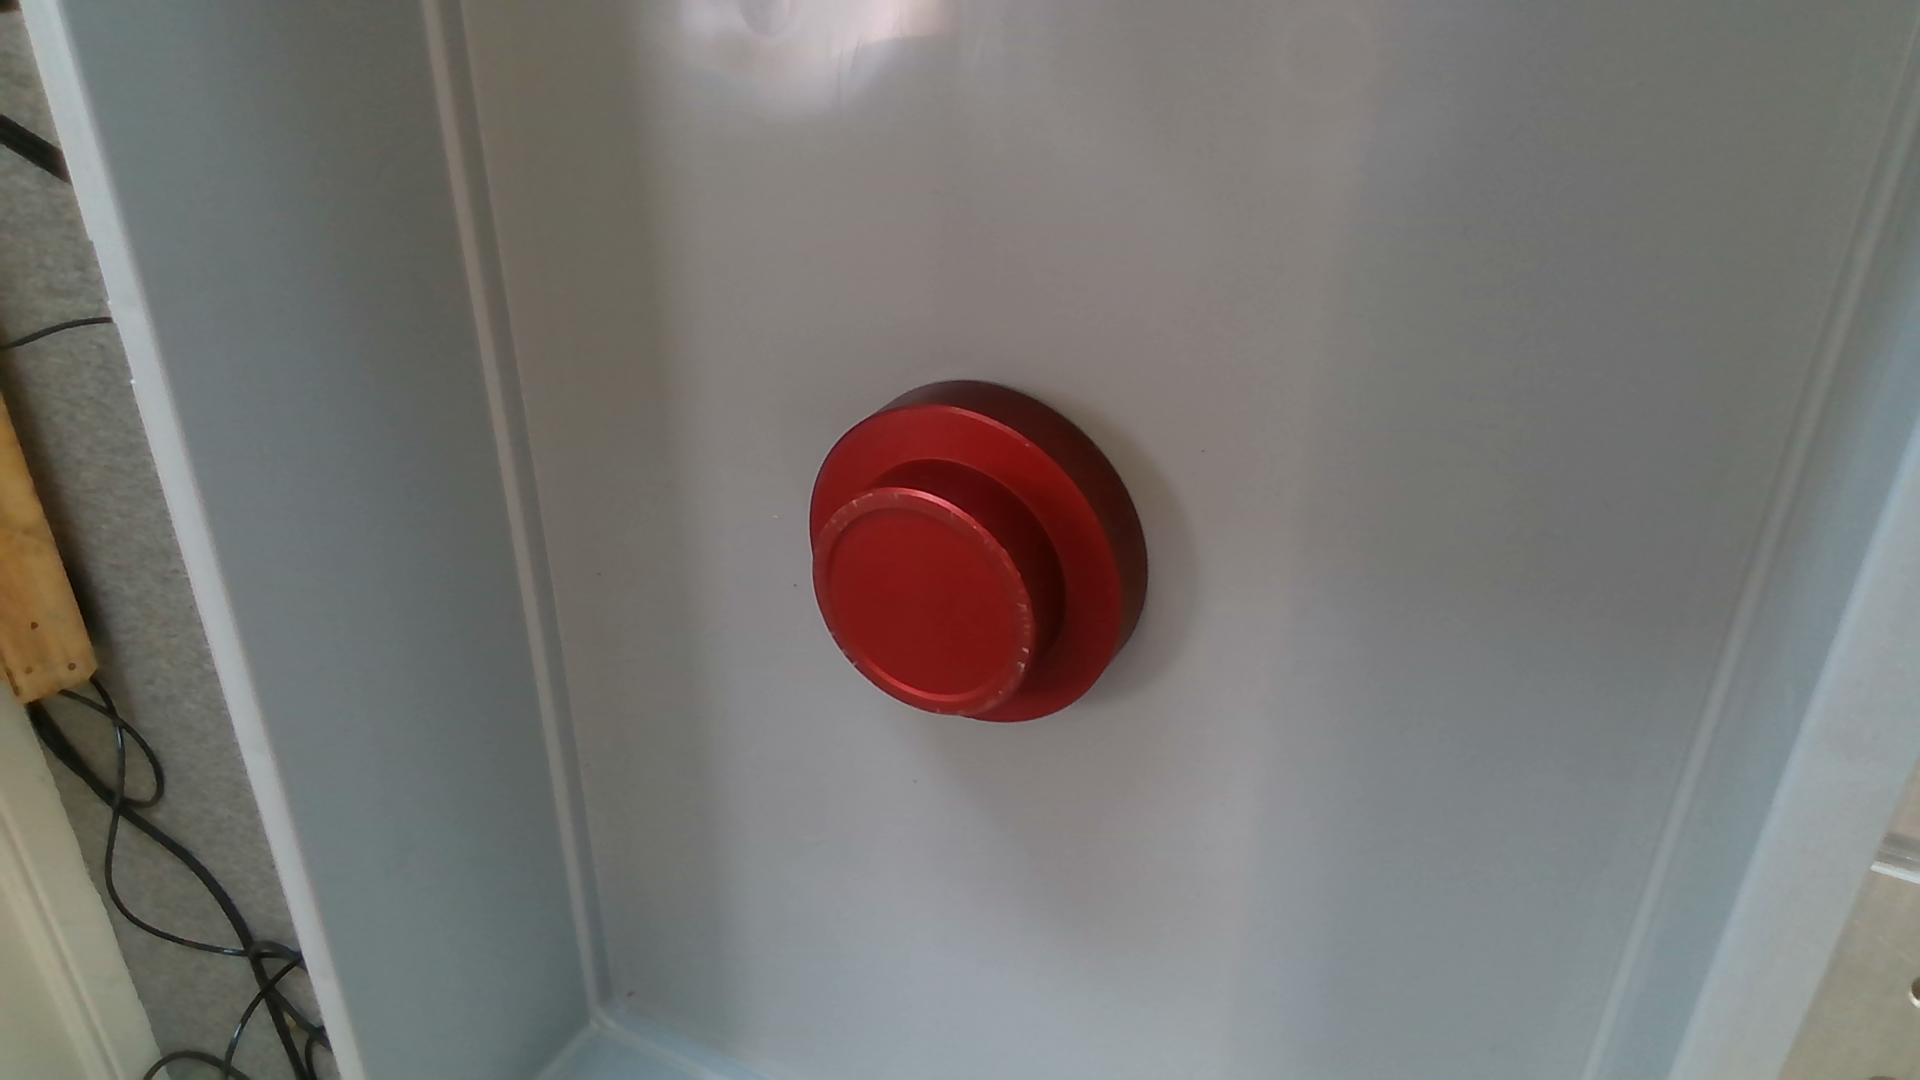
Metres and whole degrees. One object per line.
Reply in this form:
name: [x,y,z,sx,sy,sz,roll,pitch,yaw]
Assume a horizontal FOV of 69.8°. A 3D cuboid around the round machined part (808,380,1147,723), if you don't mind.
round machined part: [-0.002,0.009,0.380,0.098,0.042,0.098,14,122,25]
